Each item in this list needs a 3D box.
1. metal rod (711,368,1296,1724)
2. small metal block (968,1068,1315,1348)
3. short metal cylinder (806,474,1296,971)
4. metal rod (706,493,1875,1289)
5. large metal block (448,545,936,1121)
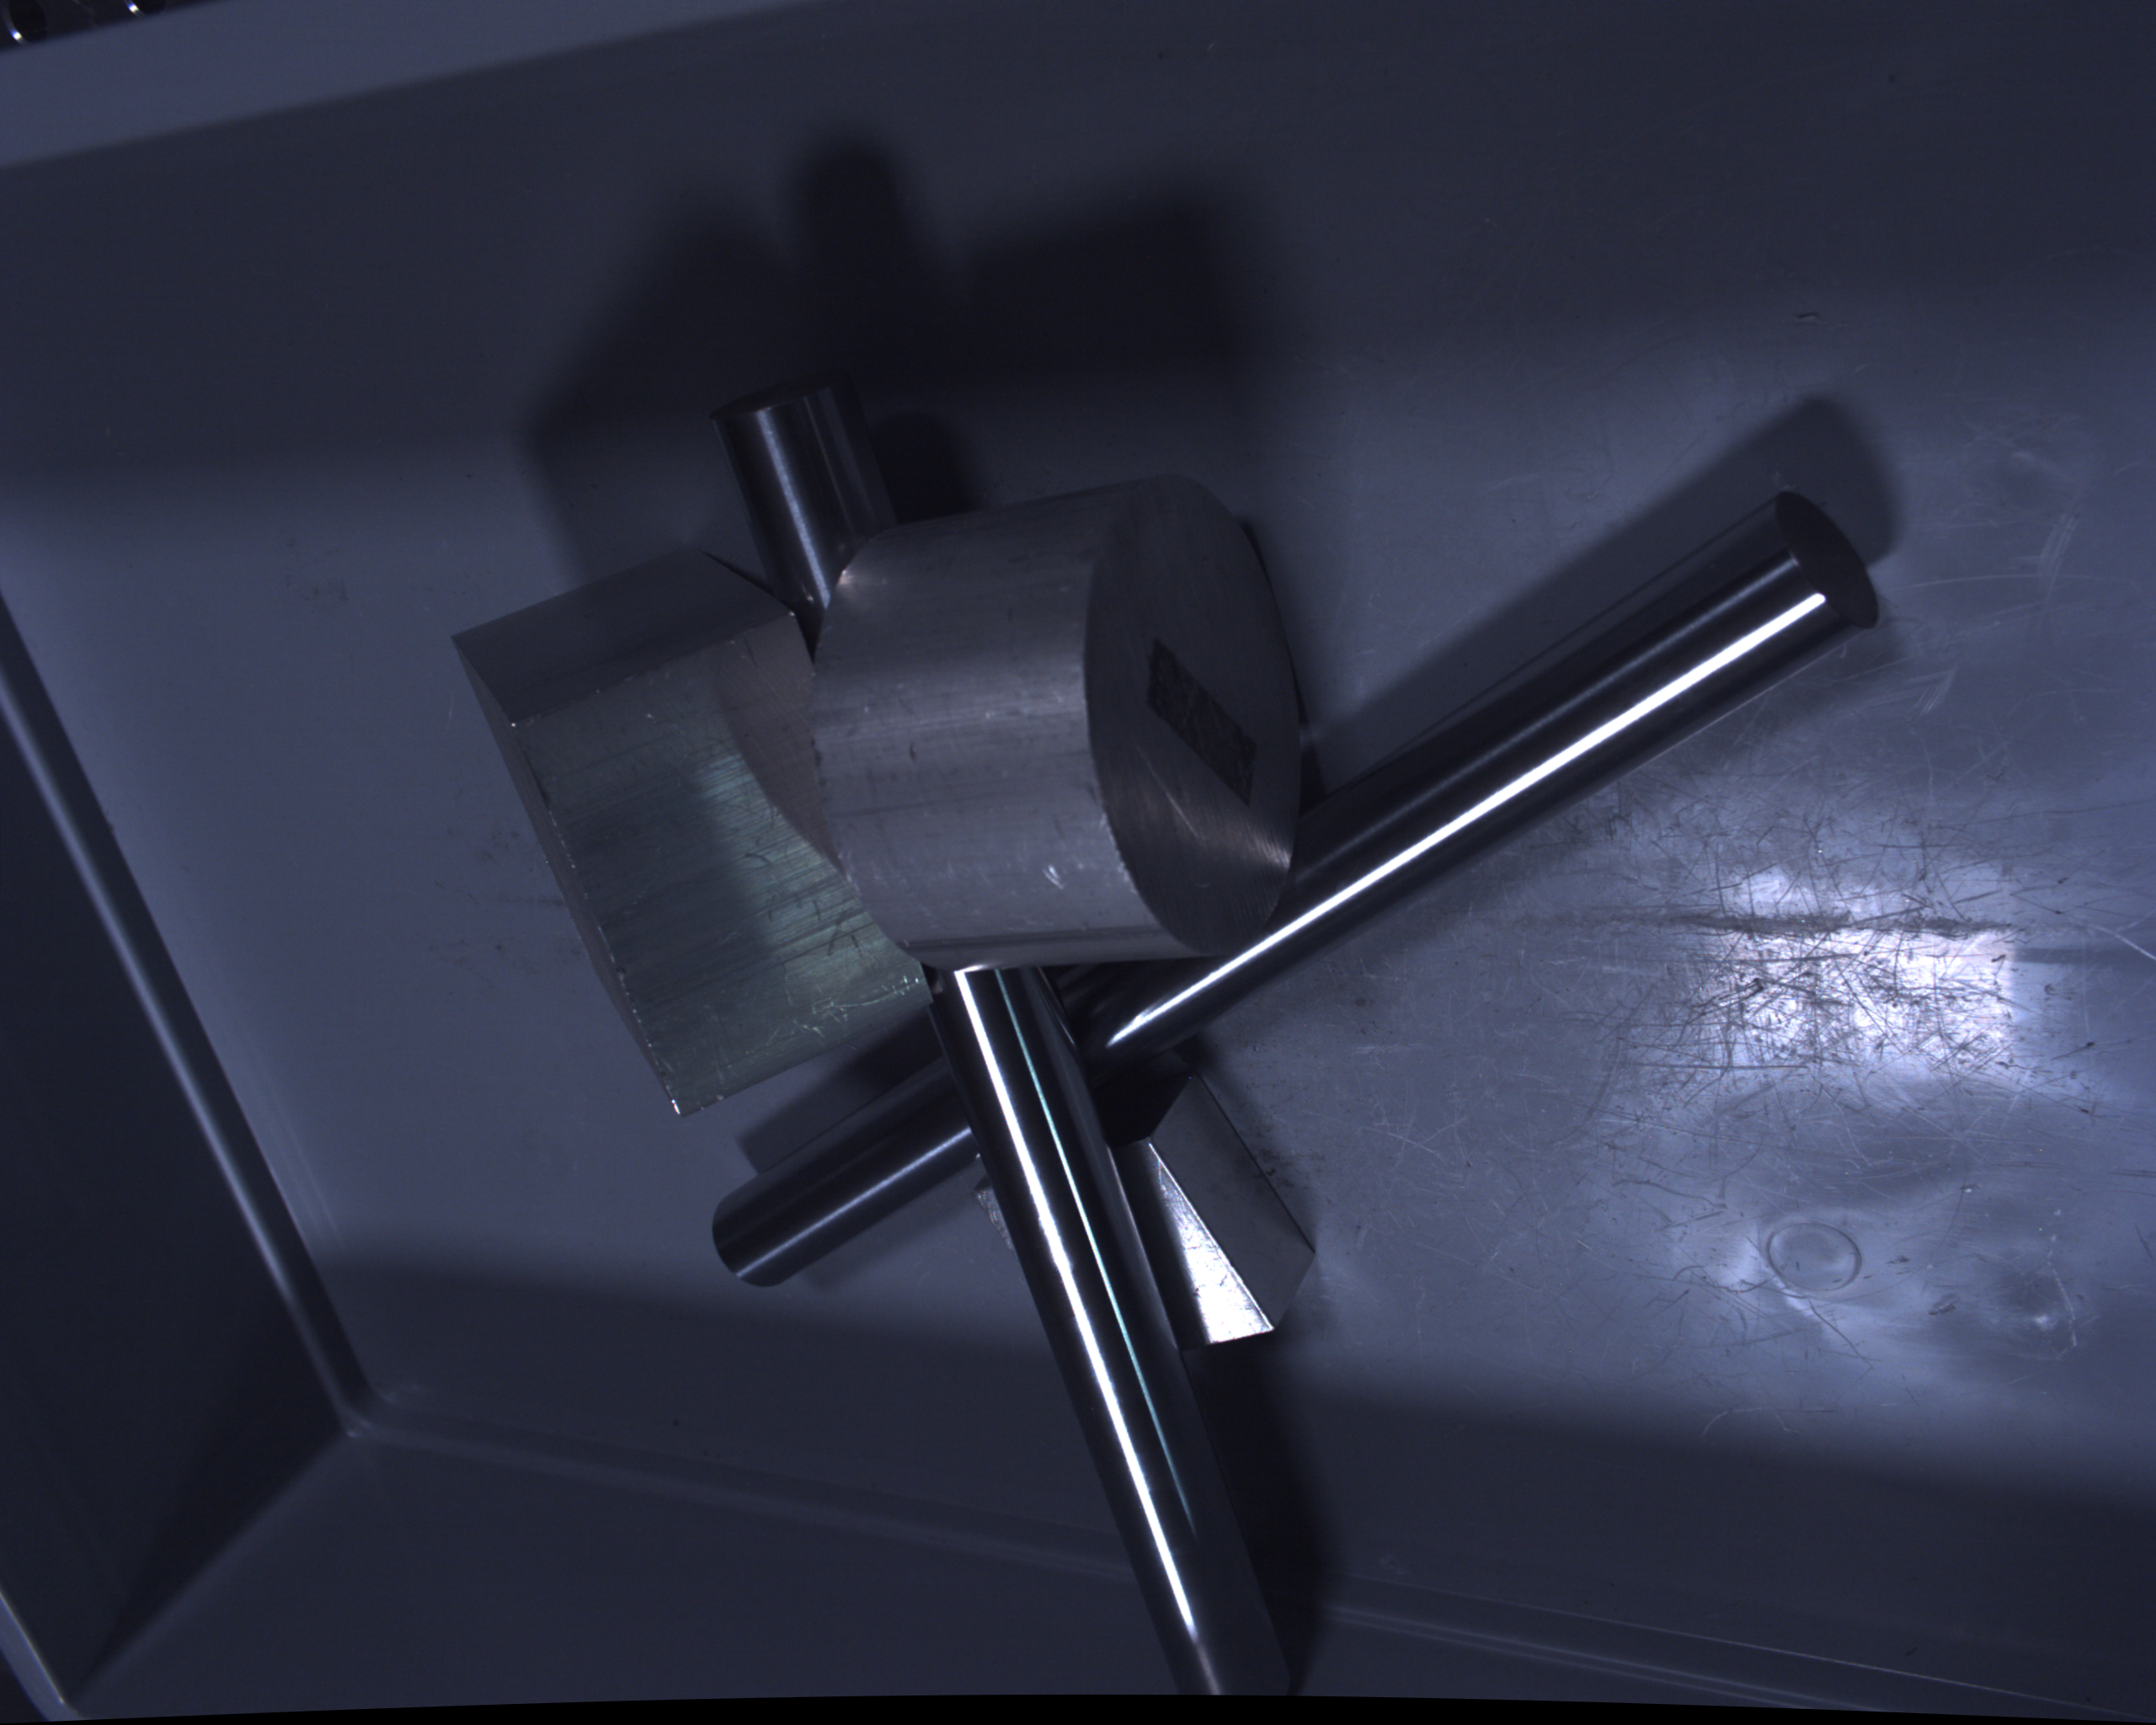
[{"bbox_3d":[-0.007,0.052,0.408,0.025,0.025,0.298,-5,115,30],"label":"metal rod"},{"bbox_3d":[0.014,0.077,0.446,0.050,0.025,0.050,-23,106,36],"label":"small metal block"},{"bbox_3d":[-0.002,-0.022,0.356,0.050,0.080,0.080,-5,116,29],"label":"short metal cylinder"},{"bbox_3d":[0.017,0.022,0.409,0.025,0.025,0.299,49,128,-7],"label":"metal rod"},{"bbox_3d":[-0.075,-0.009,0.398,0.080,0.050,0.080,34,145,61],"label":"large metal block"}]
